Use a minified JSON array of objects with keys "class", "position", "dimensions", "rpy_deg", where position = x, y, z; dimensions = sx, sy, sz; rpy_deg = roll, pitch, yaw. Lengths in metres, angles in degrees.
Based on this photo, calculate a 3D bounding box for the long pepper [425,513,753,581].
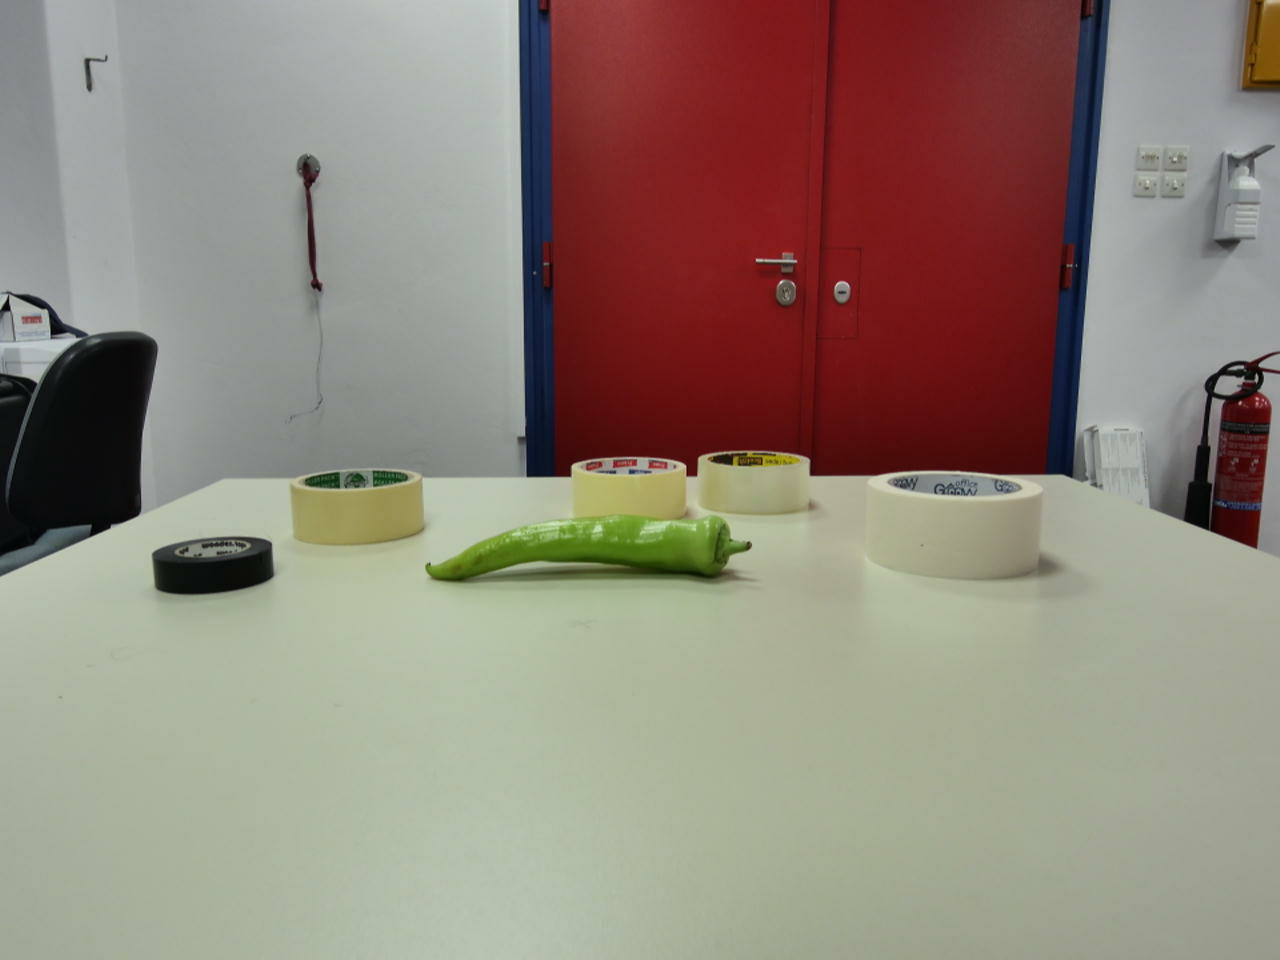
[{"class":"long pepper","position":[-0.032,0.040,0.608],"dimensions":[0.197,0.038,0.046],"rpy_deg":[0,8,1]}]
